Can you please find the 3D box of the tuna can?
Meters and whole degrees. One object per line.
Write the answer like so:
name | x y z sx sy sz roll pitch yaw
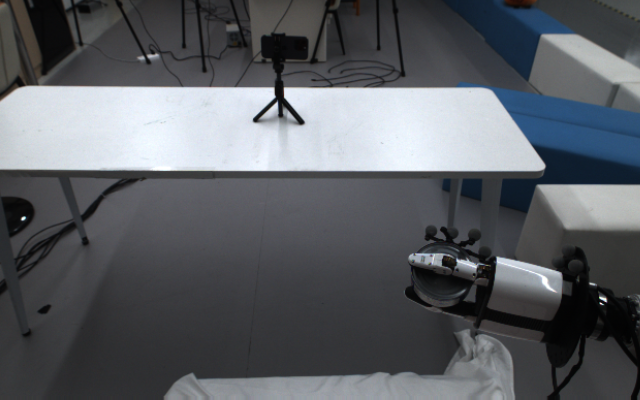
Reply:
tuna can | 0.171 0.100 0.670 0.085 0.034 0.085 -4 55 6
